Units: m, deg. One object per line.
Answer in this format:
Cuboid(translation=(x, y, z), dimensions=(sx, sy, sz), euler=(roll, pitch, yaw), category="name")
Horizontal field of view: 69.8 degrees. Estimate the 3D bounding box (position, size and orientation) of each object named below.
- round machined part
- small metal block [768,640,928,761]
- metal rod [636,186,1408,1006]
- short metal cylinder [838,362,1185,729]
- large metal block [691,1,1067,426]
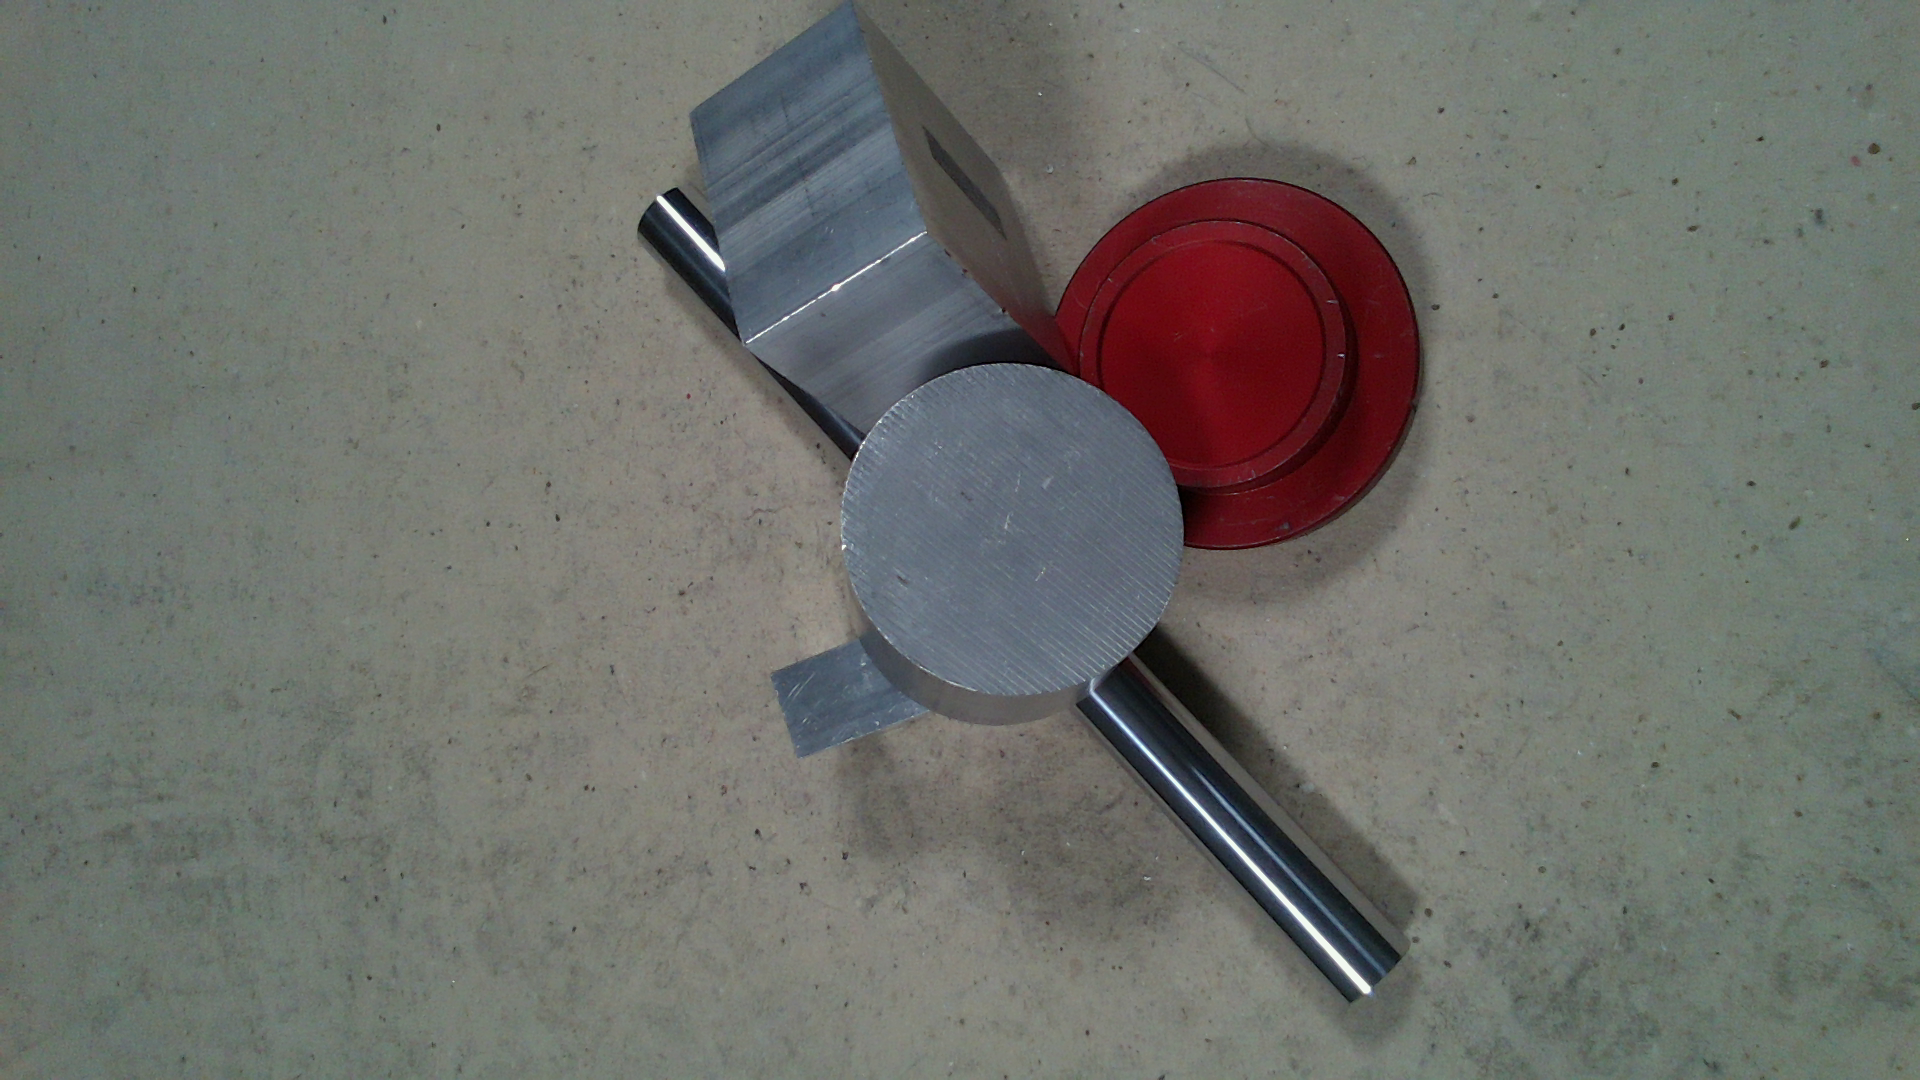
Cuboid(translation=(0.070, -0.046, 0.361), dimensions=(0.098, 0.042, 0.098), euler=(0, 90, 20), category="round machined part")
Cuboid(translation=(-0.018, 0.039, 0.390), dimensions=(0.050, 0.050, 0.025), euler=(-23, 82, 18), category="small metal block")
Cuboid(translation=(0.008, 0.006, 0.394), dimensions=(0.025, 0.025, 0.300), euler=(-46, 76, 14), category="metal rod")
Cuboid(translation=(0.011, 0.003, 0.339), dimensions=(0.080, 0.050, 0.080), euler=(1, 74, -3), category="short metal cylinder")
Cuboid(translation=(-0.019, -0.077, 0.362), dimensions=(0.050, 0.080, 0.080), euler=(-28, 59, 19), category="large metal block")
